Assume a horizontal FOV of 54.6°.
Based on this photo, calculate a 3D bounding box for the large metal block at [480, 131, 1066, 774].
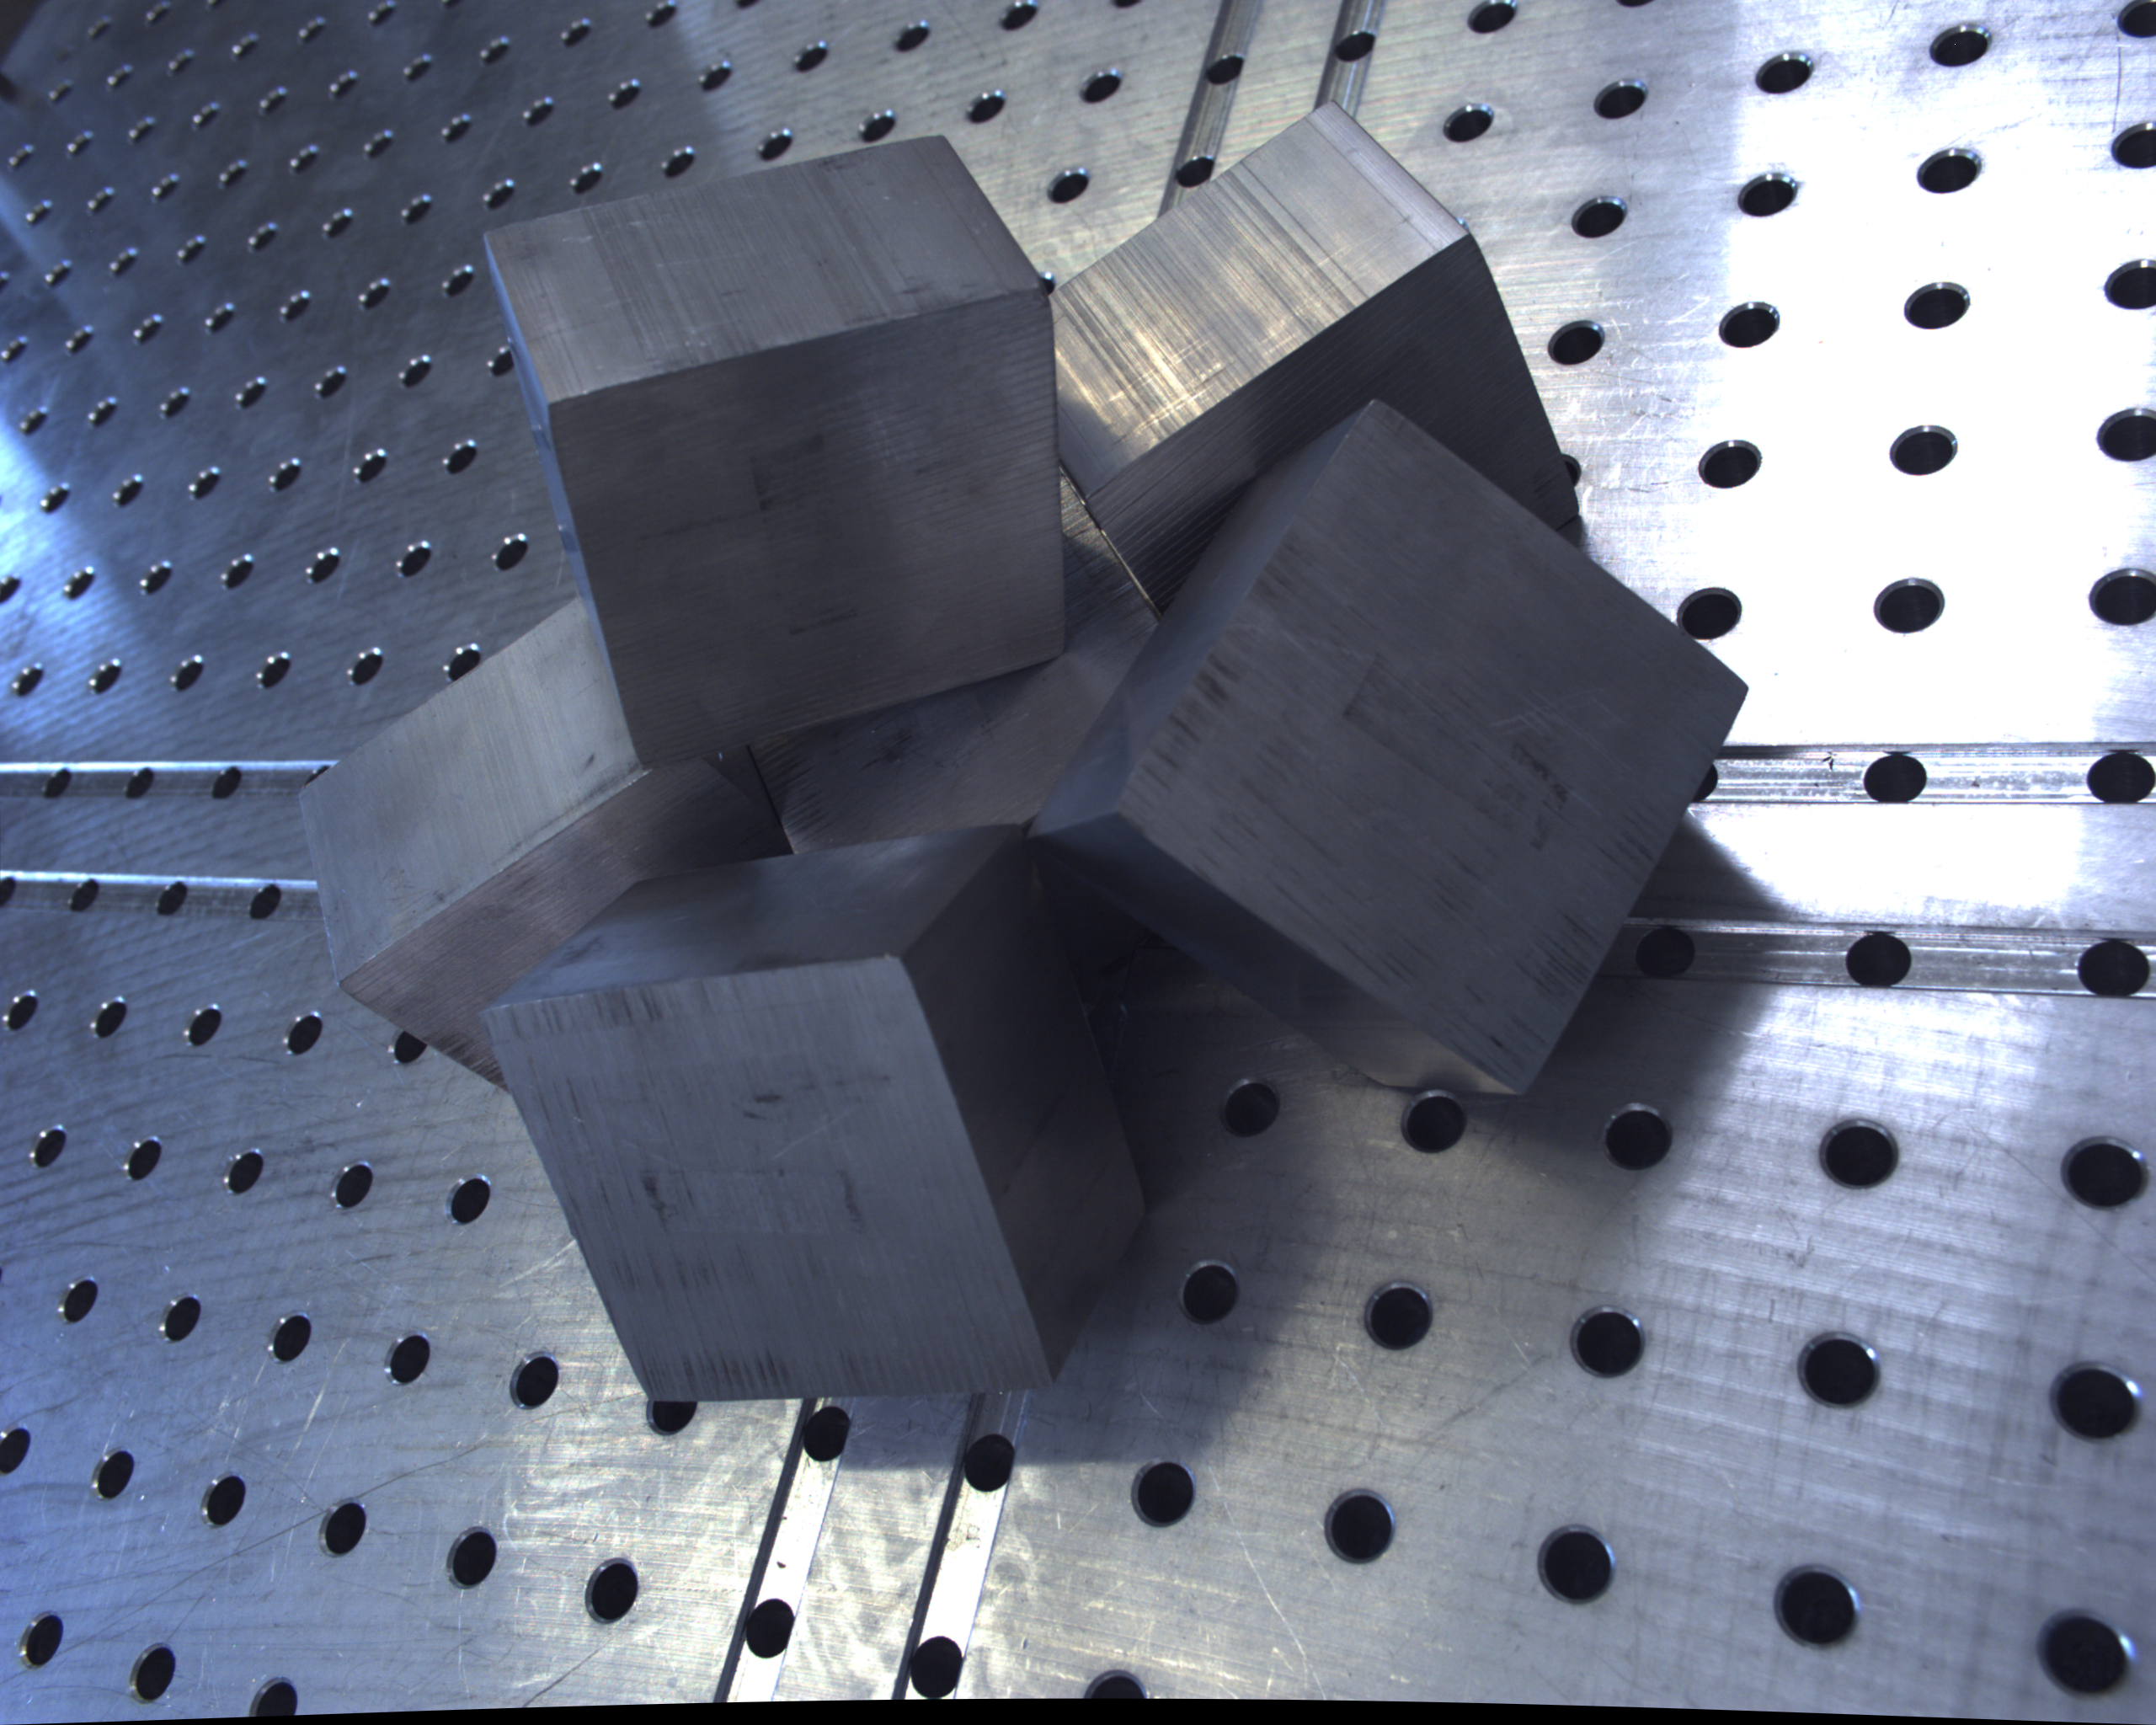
[{"bbox_3d":[-0.050,-0.070,0.362,0.081,0.080,0.050,-17,51,-13],"label":"large metal block"}]

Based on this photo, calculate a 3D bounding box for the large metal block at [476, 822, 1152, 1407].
[{"bbox_3d":[-0.042,0.045,0.360,0.080,0.080,0.050,-8,22,24],"label":"large metal block"}]

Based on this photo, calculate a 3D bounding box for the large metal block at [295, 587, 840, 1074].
[{"bbox_3d":[-0.095,0.000,0.423,0.080,0.080,0.050,-33,52,6],"label":"large metal block"}]

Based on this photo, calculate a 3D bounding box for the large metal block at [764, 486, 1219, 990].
[{"bbox_3d":[-0.014,-0.021,0.415,0.080,0.050,0.080,-34,51,6],"label":"large metal block"}]

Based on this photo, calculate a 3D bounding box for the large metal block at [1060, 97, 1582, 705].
[{"bbox_3d":[0.041,-0.083,0.403,0.080,0.080,0.050,-34,52,6],"label":"large metal block"}]

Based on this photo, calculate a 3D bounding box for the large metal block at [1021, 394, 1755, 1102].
[{"bbox_3d":[0.050,-0.016,0.348,0.080,0.080,0.050,-58,12,-13],"label":"large metal block"}]
